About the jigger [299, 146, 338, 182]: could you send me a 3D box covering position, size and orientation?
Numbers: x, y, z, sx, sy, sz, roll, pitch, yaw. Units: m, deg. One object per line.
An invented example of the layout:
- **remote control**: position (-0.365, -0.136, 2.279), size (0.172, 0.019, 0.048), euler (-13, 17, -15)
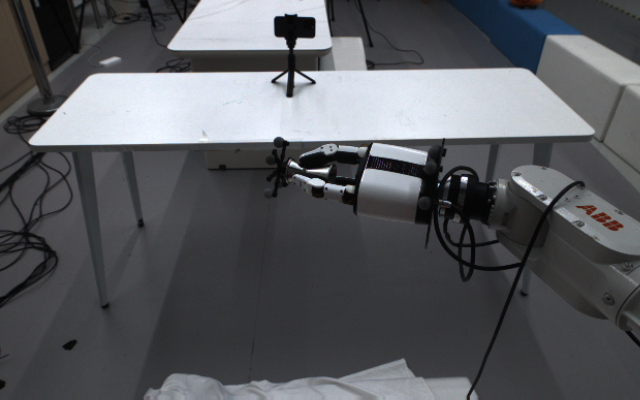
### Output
- **jigger**: position (-0.008, -0.041, 0.732), size (0.071, 0.043, 0.043), euler (11, 36, 15)
